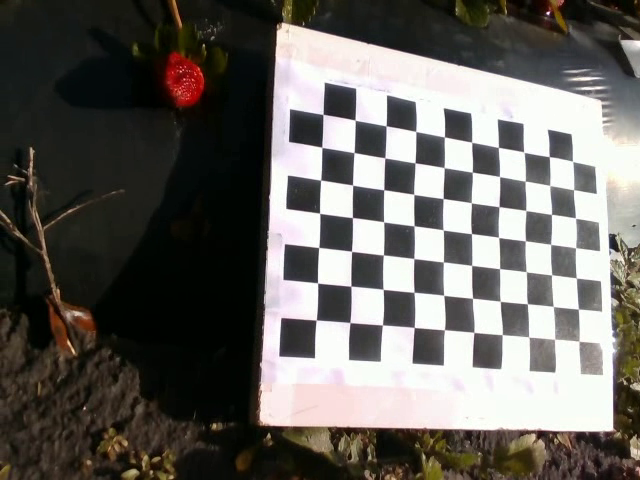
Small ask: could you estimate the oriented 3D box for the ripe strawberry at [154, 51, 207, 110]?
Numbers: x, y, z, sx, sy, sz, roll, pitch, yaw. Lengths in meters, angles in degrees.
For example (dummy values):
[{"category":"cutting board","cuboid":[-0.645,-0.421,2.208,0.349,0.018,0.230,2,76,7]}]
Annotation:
[{"category":"ripe strawberry","cuboid":[-0.032,-0.037,0.149,0.015,0.015,0.023,16,24,-20]}]
